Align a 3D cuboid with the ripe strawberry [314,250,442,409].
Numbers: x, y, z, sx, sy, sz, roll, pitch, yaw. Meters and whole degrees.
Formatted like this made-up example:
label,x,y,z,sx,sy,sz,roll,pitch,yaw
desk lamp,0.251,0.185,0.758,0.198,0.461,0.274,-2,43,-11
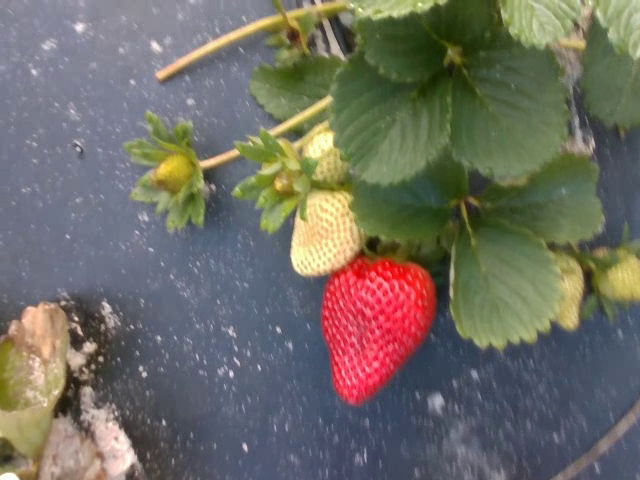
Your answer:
label,x,y,z,sx,sy,sz,roll,pitch,yaw
ripe strawberry,0.016,0.037,0.242,0.051,0.055,0.048,9,-30,41
